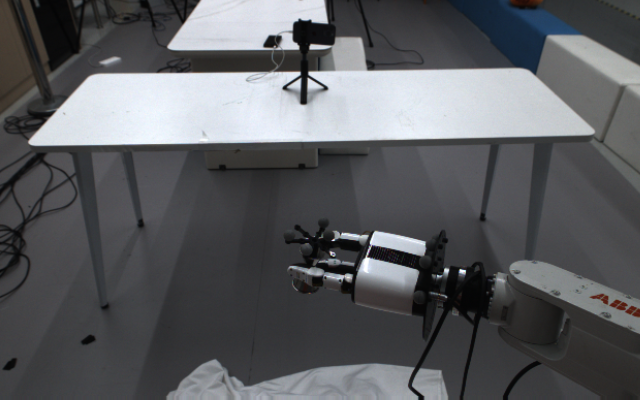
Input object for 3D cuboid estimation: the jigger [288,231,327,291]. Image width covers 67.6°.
[{"bbox_3d":[-0.017,0.104,0.744,0.043,0.071,0.043,9,30,-5],"label":"jigger"}]
